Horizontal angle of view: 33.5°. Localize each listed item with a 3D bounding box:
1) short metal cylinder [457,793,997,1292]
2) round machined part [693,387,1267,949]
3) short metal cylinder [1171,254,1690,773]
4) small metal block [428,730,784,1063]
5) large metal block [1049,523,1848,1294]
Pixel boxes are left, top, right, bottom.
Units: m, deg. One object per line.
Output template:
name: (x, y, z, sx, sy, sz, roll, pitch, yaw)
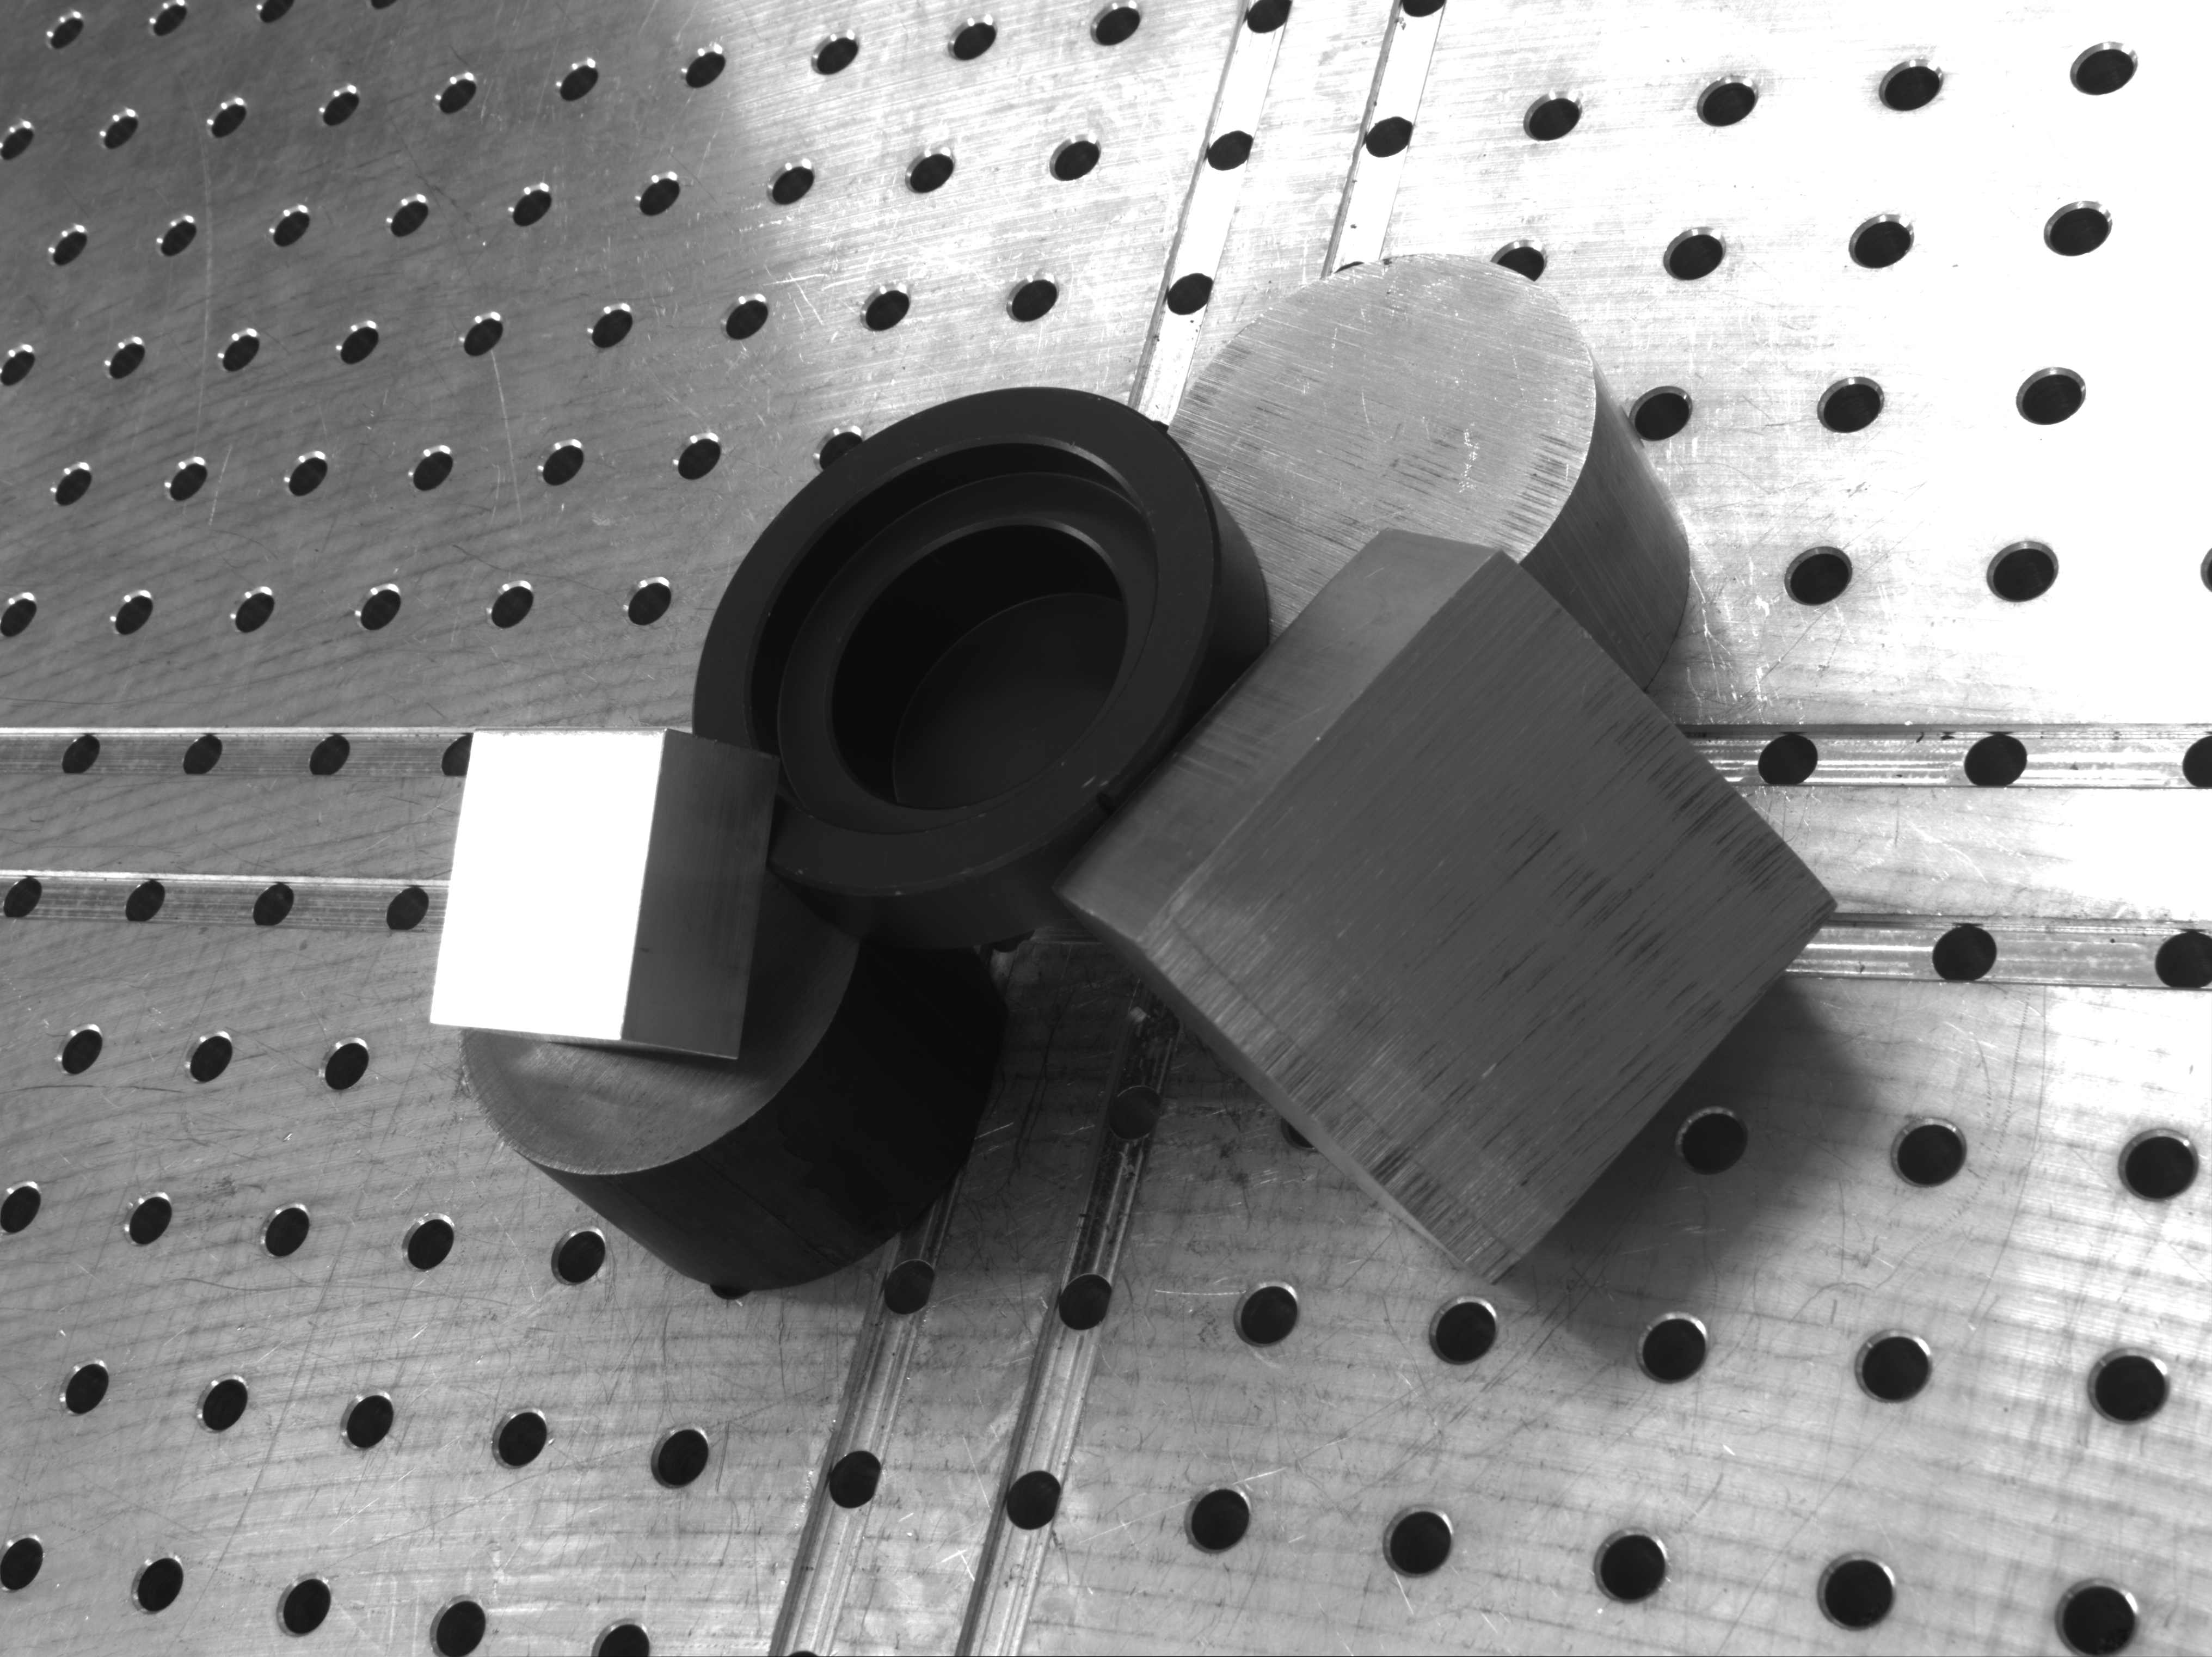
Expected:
short metal cylinder: (-0.066, 0.035, 0.647, 0.080, 0.050, 0.080, -14, 56, 21)
round machined part: (-0.017, -0.023, 0.623, 0.098, 0.042, 0.098, -14, 56, 21)
short metal cylinder: (0.055, -0.052, 0.635, 0.080, 0.050, 0.080, -14, 56, 21)
small metal block: (-0.083, 0.011, 0.606, 0.050, 0.025, 0.050, 2, 81, 43)
large metal block: (0.052, 0.011, 0.570, 0.080, 0.080, 0.050, -47, 17, -5)
